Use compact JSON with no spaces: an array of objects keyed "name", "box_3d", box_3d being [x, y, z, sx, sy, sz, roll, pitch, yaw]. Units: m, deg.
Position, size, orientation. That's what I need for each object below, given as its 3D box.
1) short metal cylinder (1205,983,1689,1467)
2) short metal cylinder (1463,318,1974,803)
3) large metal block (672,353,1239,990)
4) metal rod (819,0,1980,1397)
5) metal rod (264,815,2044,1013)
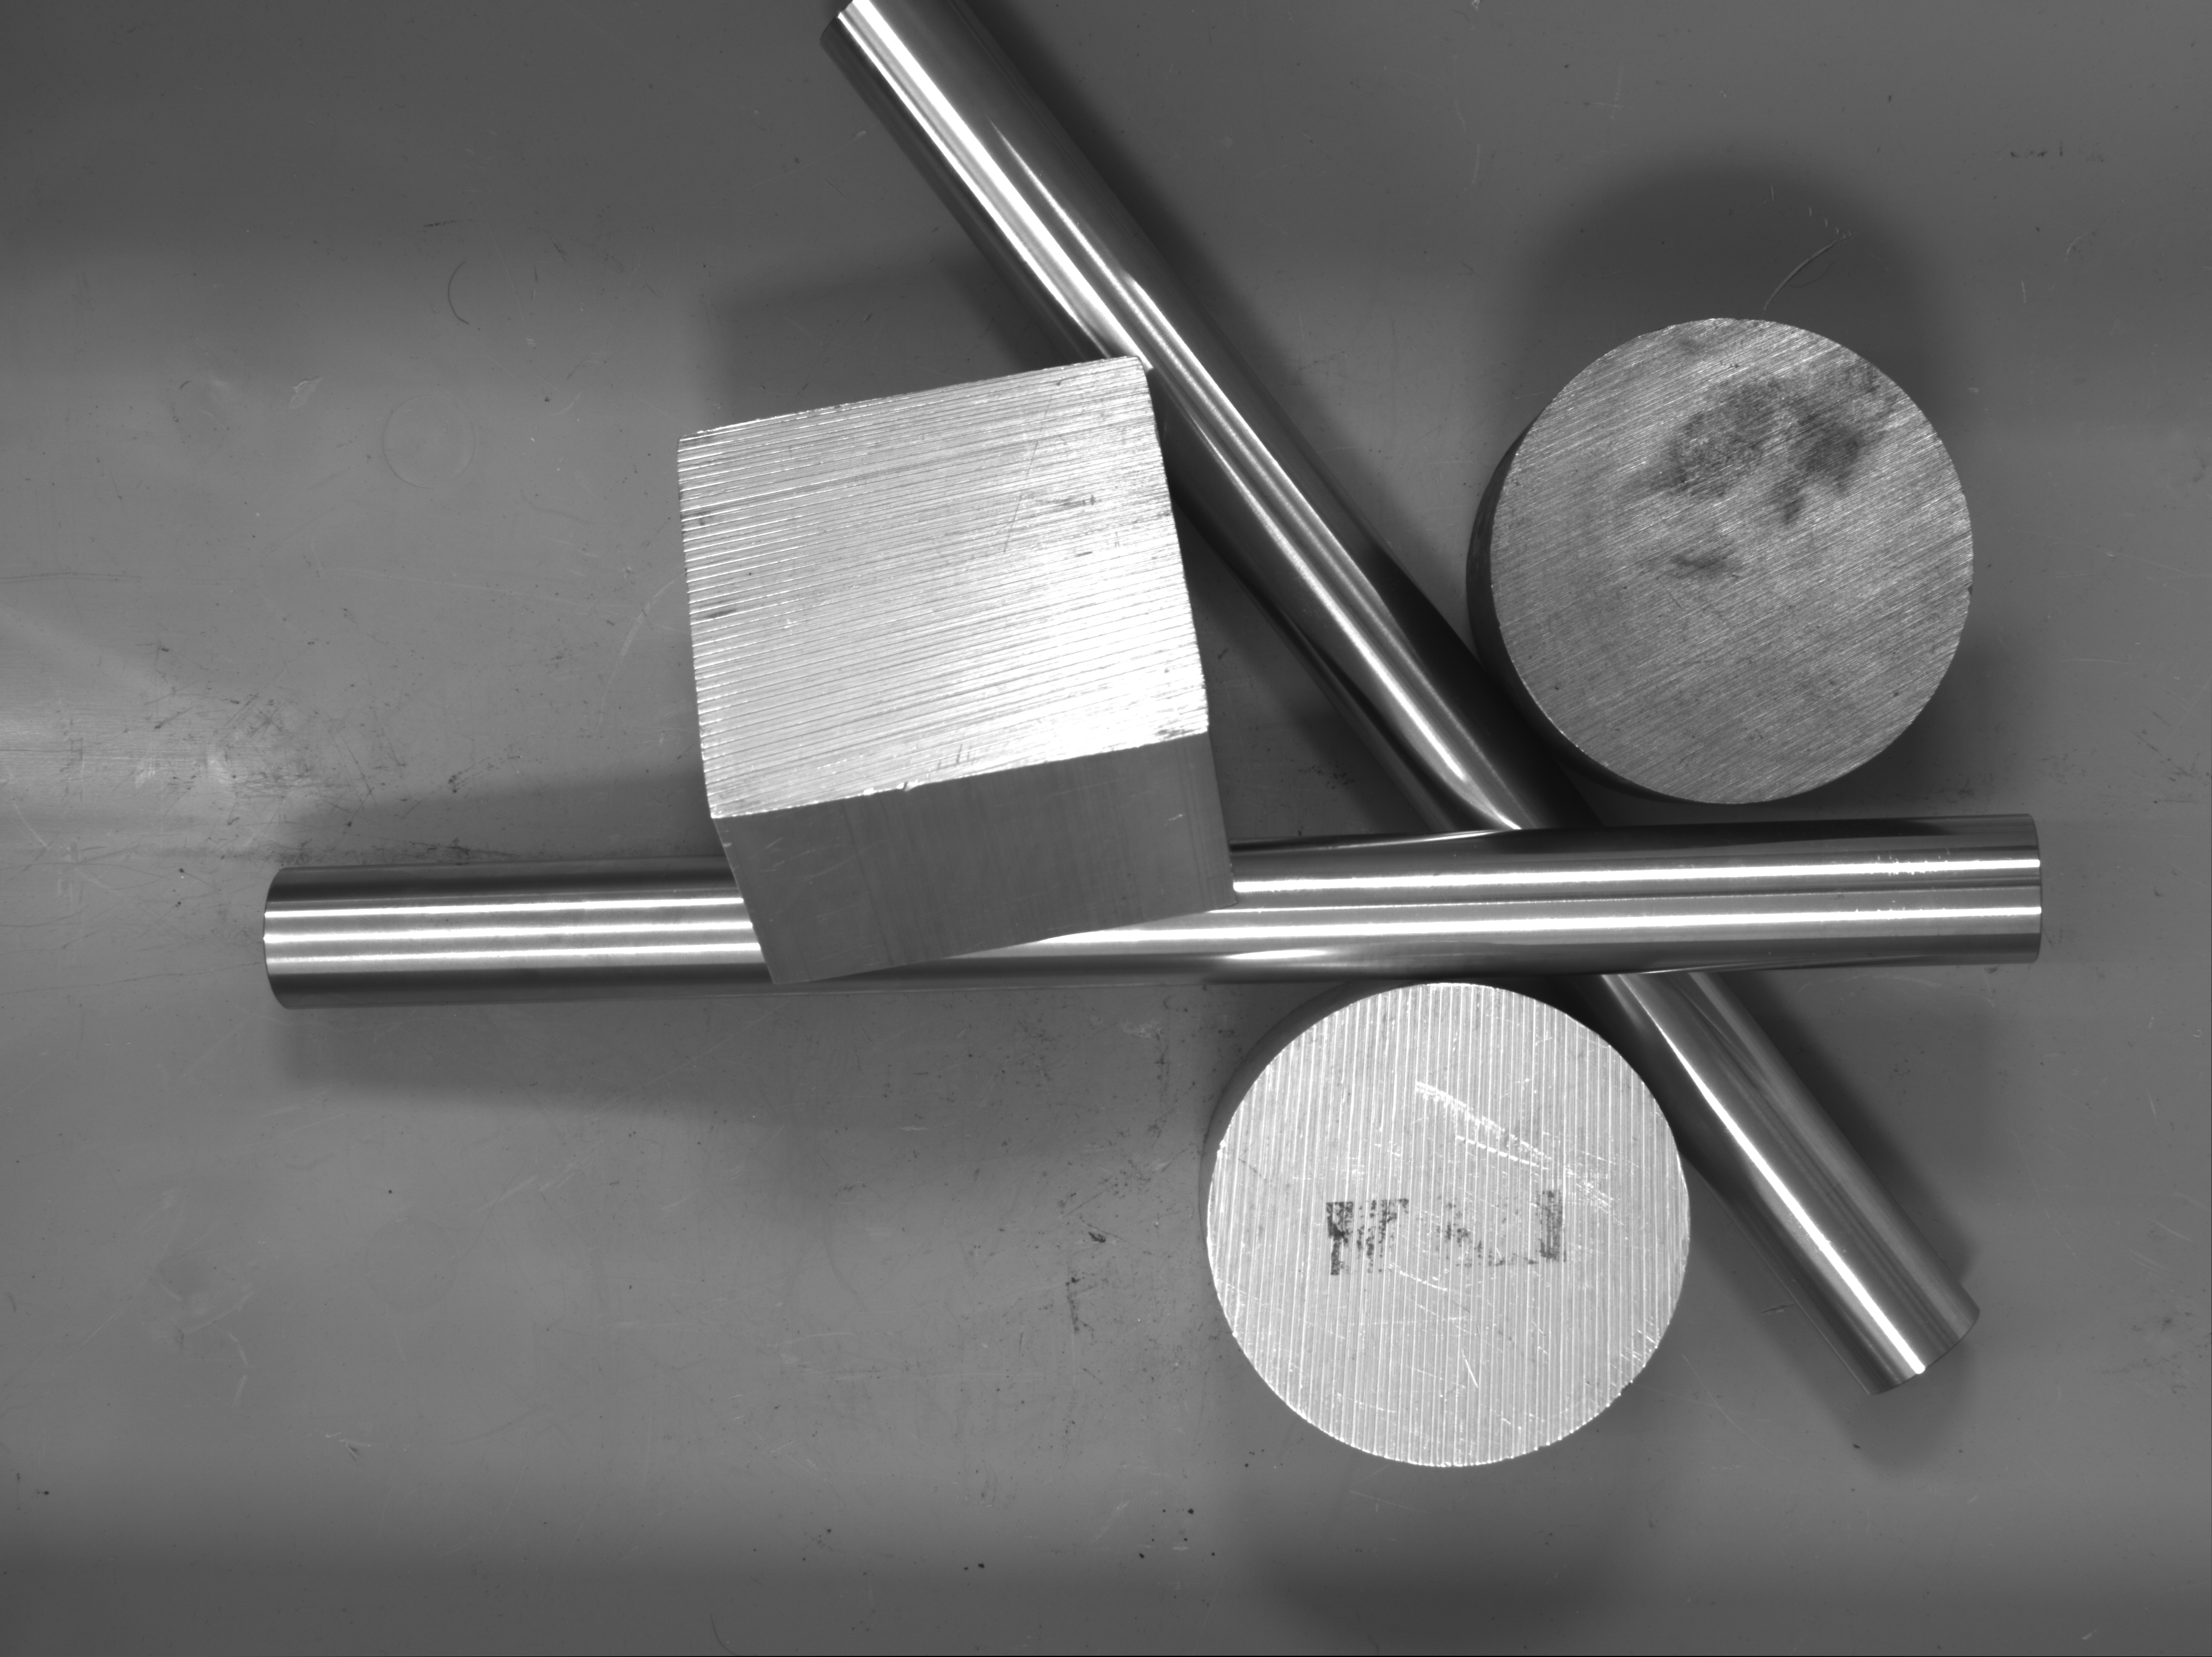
[{"name":"short metal cylinder","box_3d":[0.057,0.066,0.632,0.080,0.050,0.080,0,90,0]},{"name":"short metal cylinder","box_3d":[0.104,-0.044,0.633,0.080,0.050,0.080,0,90,0]},{"name":"large metal block","box_3d":[-0.025,-0.026,0.614,0.080,0.050,0.080,-10,55,0]},{"name":"metal rod","box_3d":[0.051,-0.027,0.645,0.025,0.025,0.300,-38,90,0]},{"name":"metal rod","box_3d":[0.006,0.015,0.628,0.300,0.025,0.025,-2,90,6]}]
